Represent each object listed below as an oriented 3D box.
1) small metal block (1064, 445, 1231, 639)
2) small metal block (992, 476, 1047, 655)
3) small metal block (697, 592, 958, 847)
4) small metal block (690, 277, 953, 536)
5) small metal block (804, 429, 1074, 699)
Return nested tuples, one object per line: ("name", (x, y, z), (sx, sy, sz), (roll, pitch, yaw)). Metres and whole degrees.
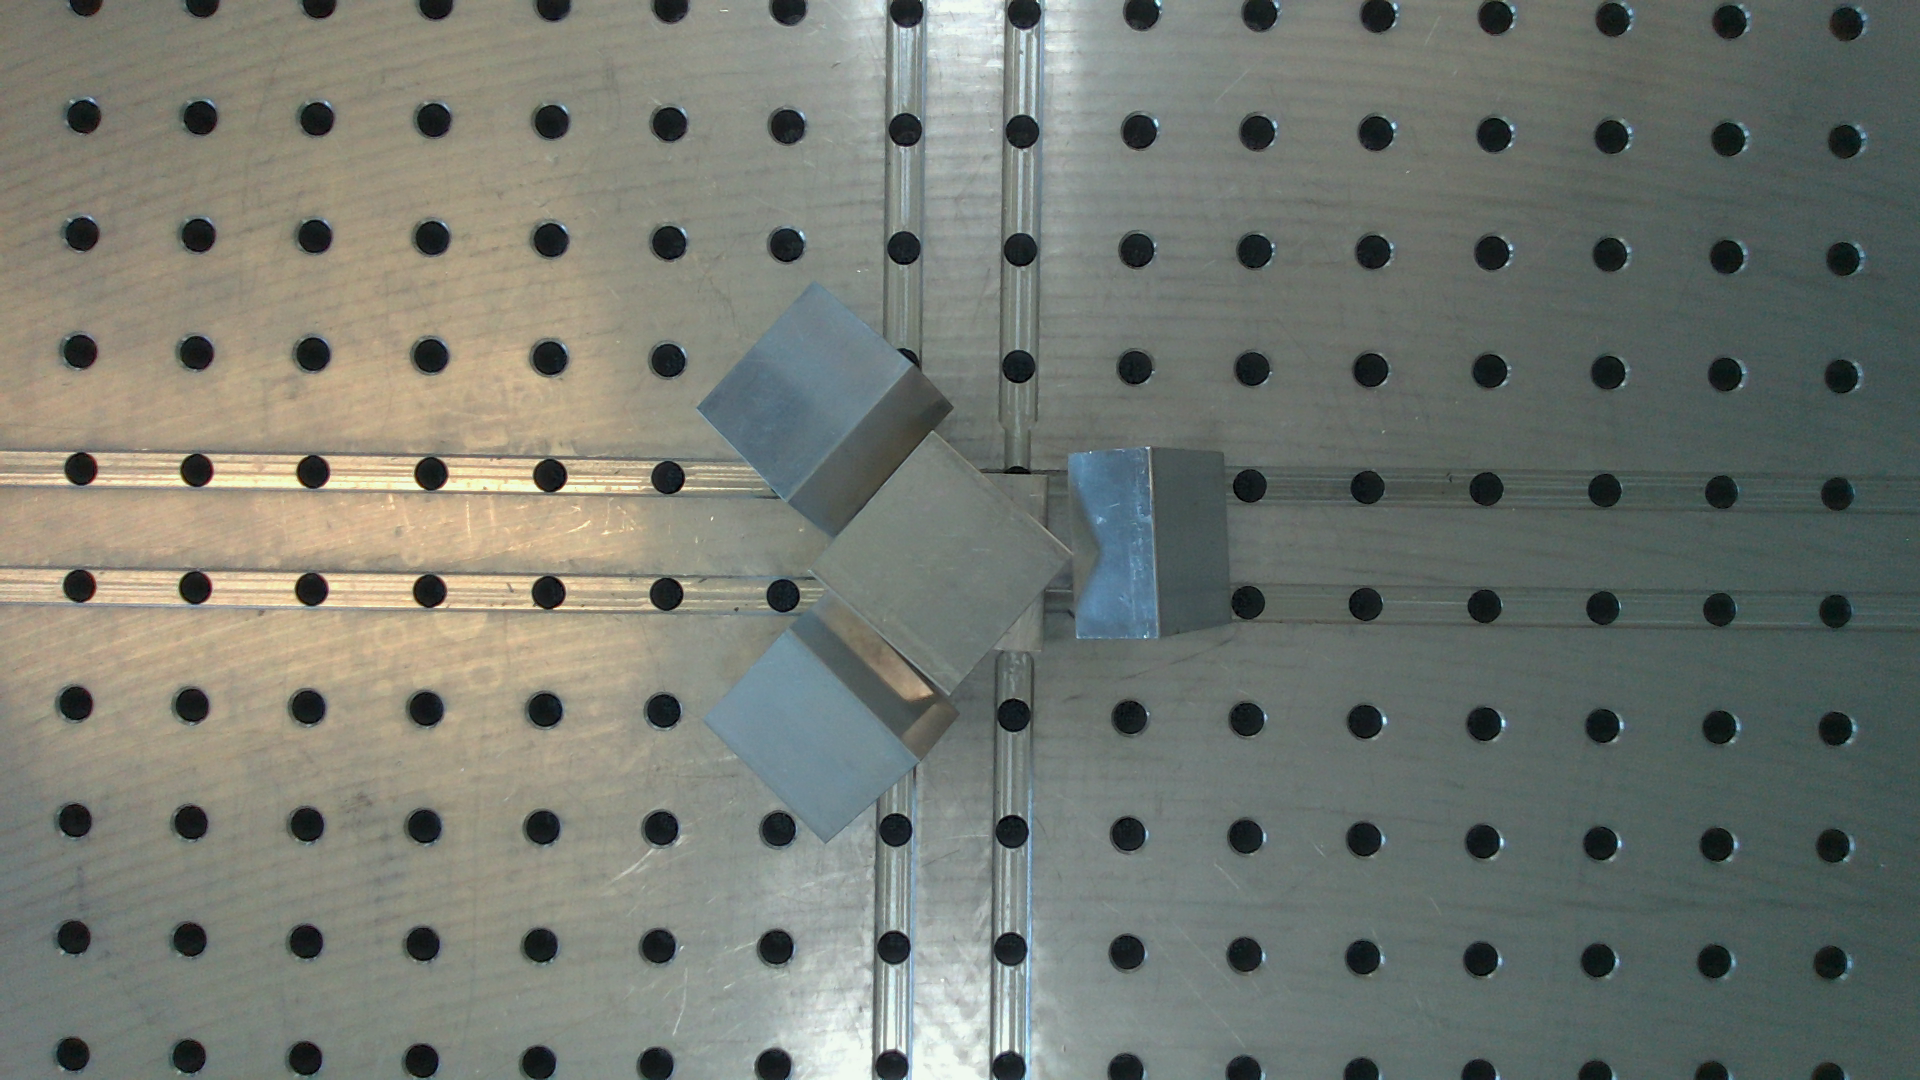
("small metal block", (0.053, 0.000, 0.383), (0.025, 0.050, 0.050), (-3, 90, 33))
("small metal block", (-0.001, 0.006, 0.398), (0.050, 0.025, 0.050), (1, 93, 0))
("small metal block", (-0.037, 0.050, 0.385), (0.050, 0.025, 0.050), (45, 127, 0))
("small metal block", (-0.039, -0.037, 0.385), (0.050, 0.025, 0.050), (-47, 54, 0))
("small metal block", (-0.006, 0.006, 0.372), (0.050, 0.025, 0.050), (41, 90, -1))
